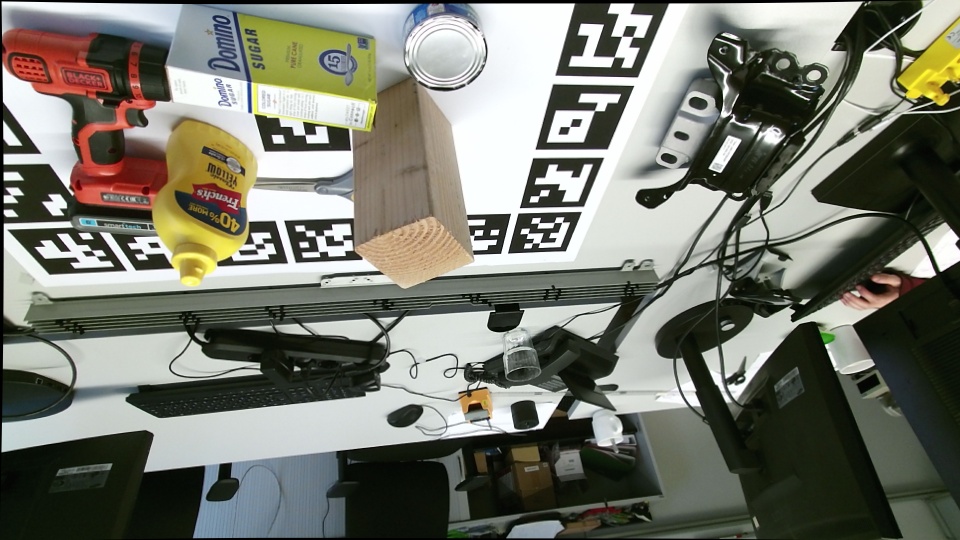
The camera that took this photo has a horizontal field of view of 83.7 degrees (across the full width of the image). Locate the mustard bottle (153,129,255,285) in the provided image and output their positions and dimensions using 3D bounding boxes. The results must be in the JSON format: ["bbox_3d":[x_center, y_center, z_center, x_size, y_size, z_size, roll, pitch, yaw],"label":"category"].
[{"bbox_3d":[-0.300,-0.062,0.579,0.058,0.190,0.096,-29,139,21],"label":"mustard bottle"}]

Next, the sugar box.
[{"bbox_3d":[-0.197,-0.185,0.515,0.177,0.092,0.045,6,143,-19],"label":"sugar box"}]

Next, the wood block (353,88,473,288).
[{"bbox_3d":[-0.078,-0.092,0.587,0.091,0.205,0.090,-21,141,12],"label":"wood block"}]

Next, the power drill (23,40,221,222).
[{"bbox_3d":[-0.350,-0.136,0.565,0.185,0.057,0.187,5,133,-21],"label":"power drill"}]

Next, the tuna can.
[{"bbox_3d":[-0.036,-0.217,0.554,0.086,0.033,0.086,-7,142,-5],"label":"tuna can"}]

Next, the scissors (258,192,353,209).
[{"bbox_3d":[-0.183,-0.093,0.700,0.204,0.016,0.088,-2,146,-13],"label":"scissors"}]
